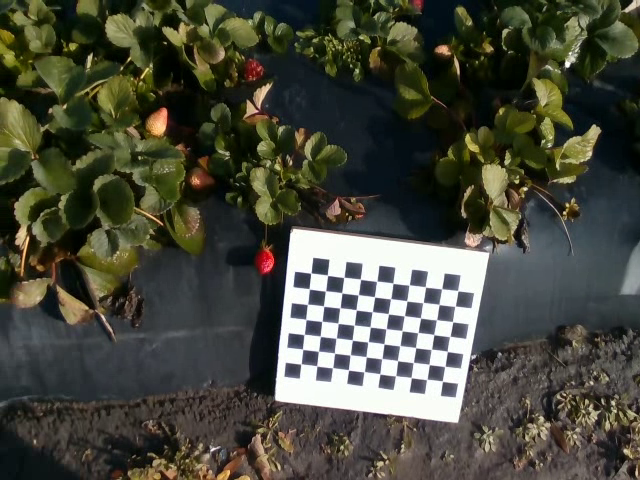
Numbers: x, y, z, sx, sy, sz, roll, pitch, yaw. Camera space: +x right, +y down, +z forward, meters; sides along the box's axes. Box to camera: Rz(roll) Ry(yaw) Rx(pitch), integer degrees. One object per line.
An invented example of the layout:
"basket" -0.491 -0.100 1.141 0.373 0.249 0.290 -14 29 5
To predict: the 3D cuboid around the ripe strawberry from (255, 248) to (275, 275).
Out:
"ripe strawberry" -0.066 0.030 0.682 0.035 0.037 0.033 6 -39 -3
